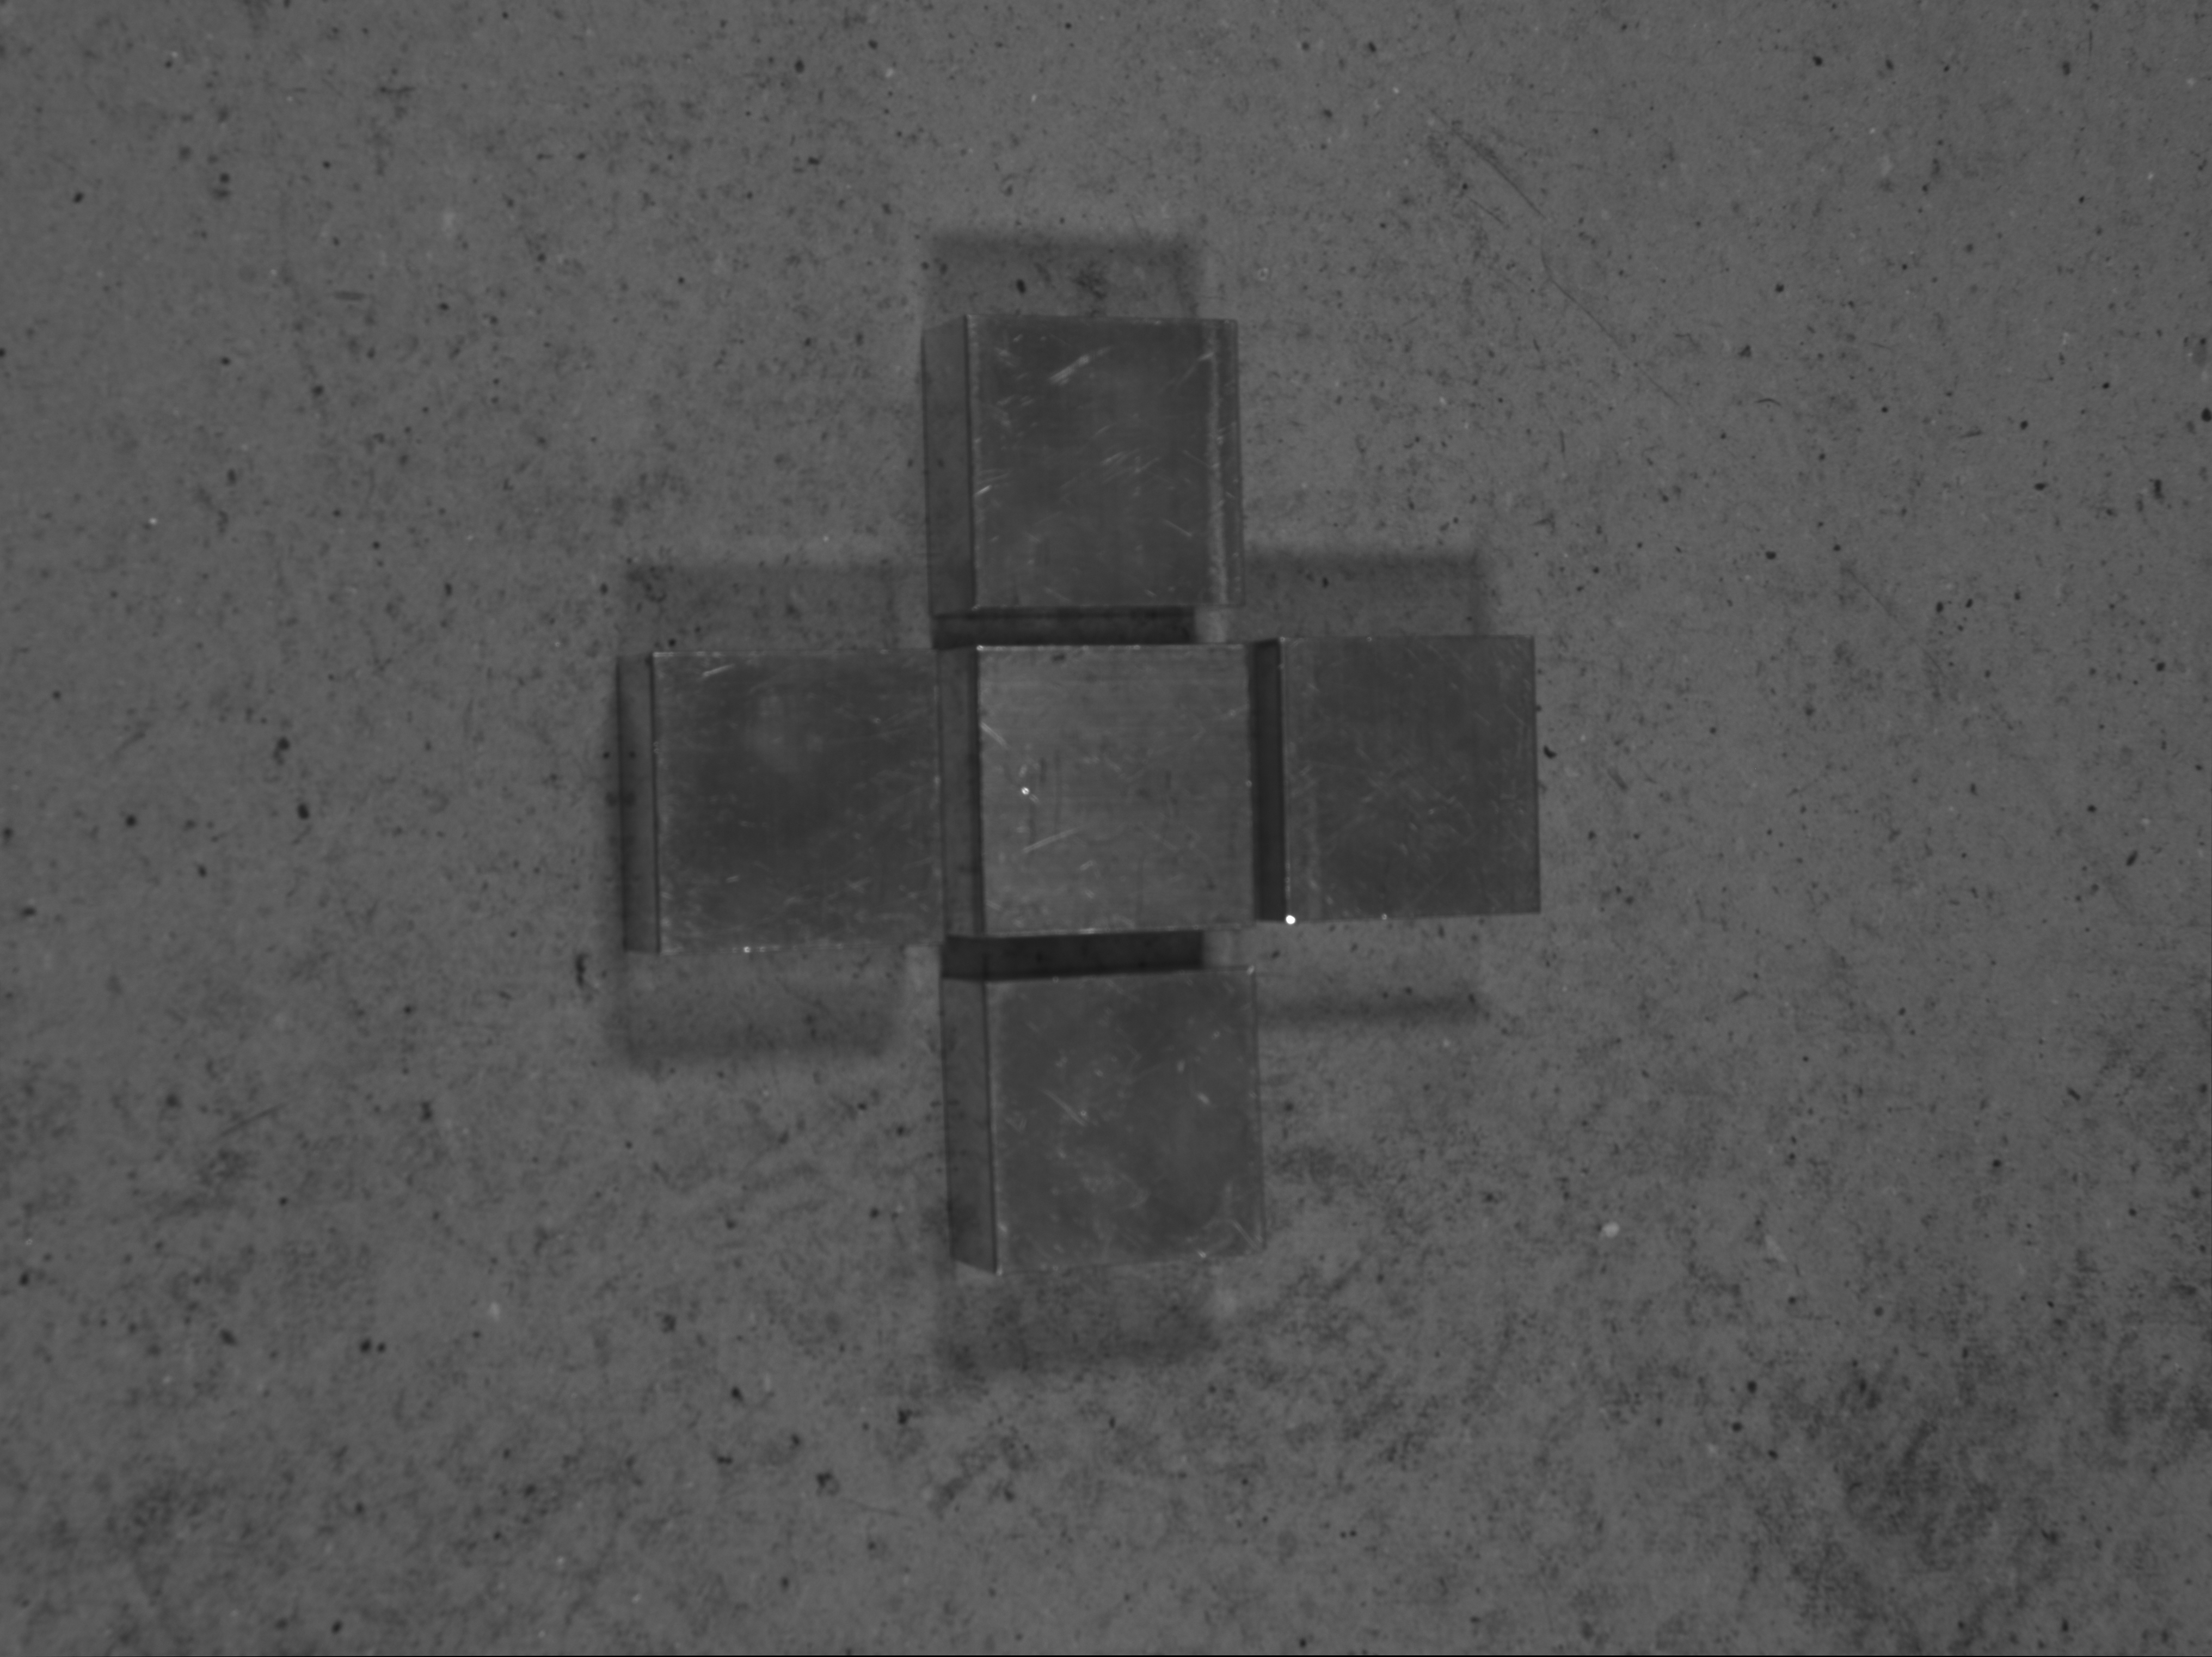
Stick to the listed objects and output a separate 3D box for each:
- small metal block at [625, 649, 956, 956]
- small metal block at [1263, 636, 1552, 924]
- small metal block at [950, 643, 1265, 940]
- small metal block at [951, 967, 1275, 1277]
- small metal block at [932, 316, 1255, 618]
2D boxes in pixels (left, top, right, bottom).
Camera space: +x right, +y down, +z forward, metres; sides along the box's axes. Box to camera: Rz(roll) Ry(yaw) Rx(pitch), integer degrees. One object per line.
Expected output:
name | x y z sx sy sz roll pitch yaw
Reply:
small metal block | -0.054 -0.005 0.624 0.050 0.025 0.050 -2 91 -20
small metal block | 0.052 -0.009 0.662 0.050 0.025 0.050 -2 91 -20
small metal block | -0.001 -0.007 0.643 0.050 0.025 0.050 -2 91 -20
small metal block | 0.001 0.051 0.644 0.050 0.025 0.050 -2 91 -20
small metal block | -0.002 -0.063 0.643 0.050 0.025 0.050 -2 91 -20
